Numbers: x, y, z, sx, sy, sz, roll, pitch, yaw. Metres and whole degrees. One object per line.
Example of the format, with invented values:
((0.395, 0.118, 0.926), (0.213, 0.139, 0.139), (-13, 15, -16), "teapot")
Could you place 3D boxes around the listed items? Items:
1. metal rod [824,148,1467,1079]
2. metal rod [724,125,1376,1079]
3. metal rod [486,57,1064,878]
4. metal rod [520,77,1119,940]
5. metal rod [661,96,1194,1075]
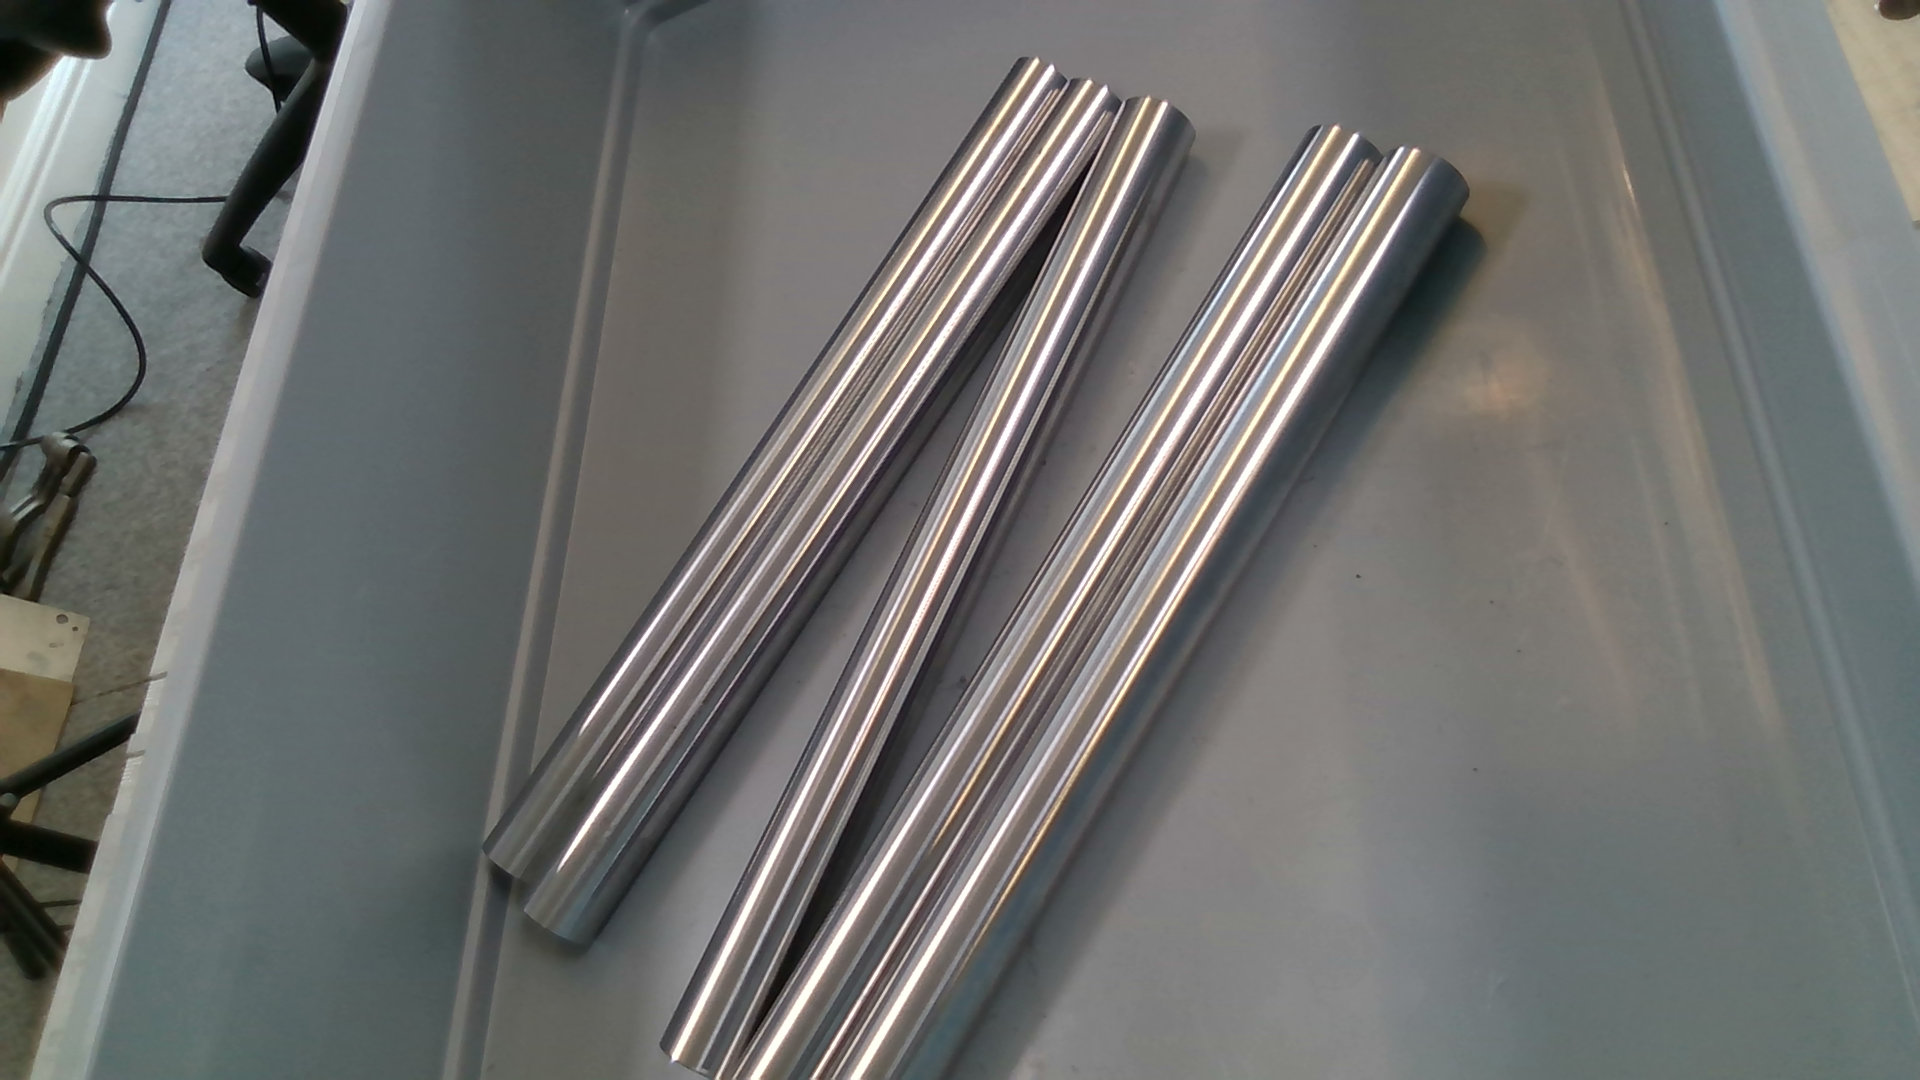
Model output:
((0.045, 0.030, 0.349), (0.025, 0.025, 0.300), (26, 81, 38), "metal rod")
((0.028, 0.019, 0.364), (0.025, 0.025, 0.300), (26, 81, 38), "metal rod")
((-0.053, -0.026, 0.438), (0.025, 0.025, 0.300), (28, 82, 38), "metal rod")
((-0.038, -0.014, 0.422), (0.025, 0.025, 0.300), (28, 82, 38), "metal rod")
((-0.004, 0.004, 0.392), (0.025, 0.025, 0.300), (17, 75, 37), "metal rod")
